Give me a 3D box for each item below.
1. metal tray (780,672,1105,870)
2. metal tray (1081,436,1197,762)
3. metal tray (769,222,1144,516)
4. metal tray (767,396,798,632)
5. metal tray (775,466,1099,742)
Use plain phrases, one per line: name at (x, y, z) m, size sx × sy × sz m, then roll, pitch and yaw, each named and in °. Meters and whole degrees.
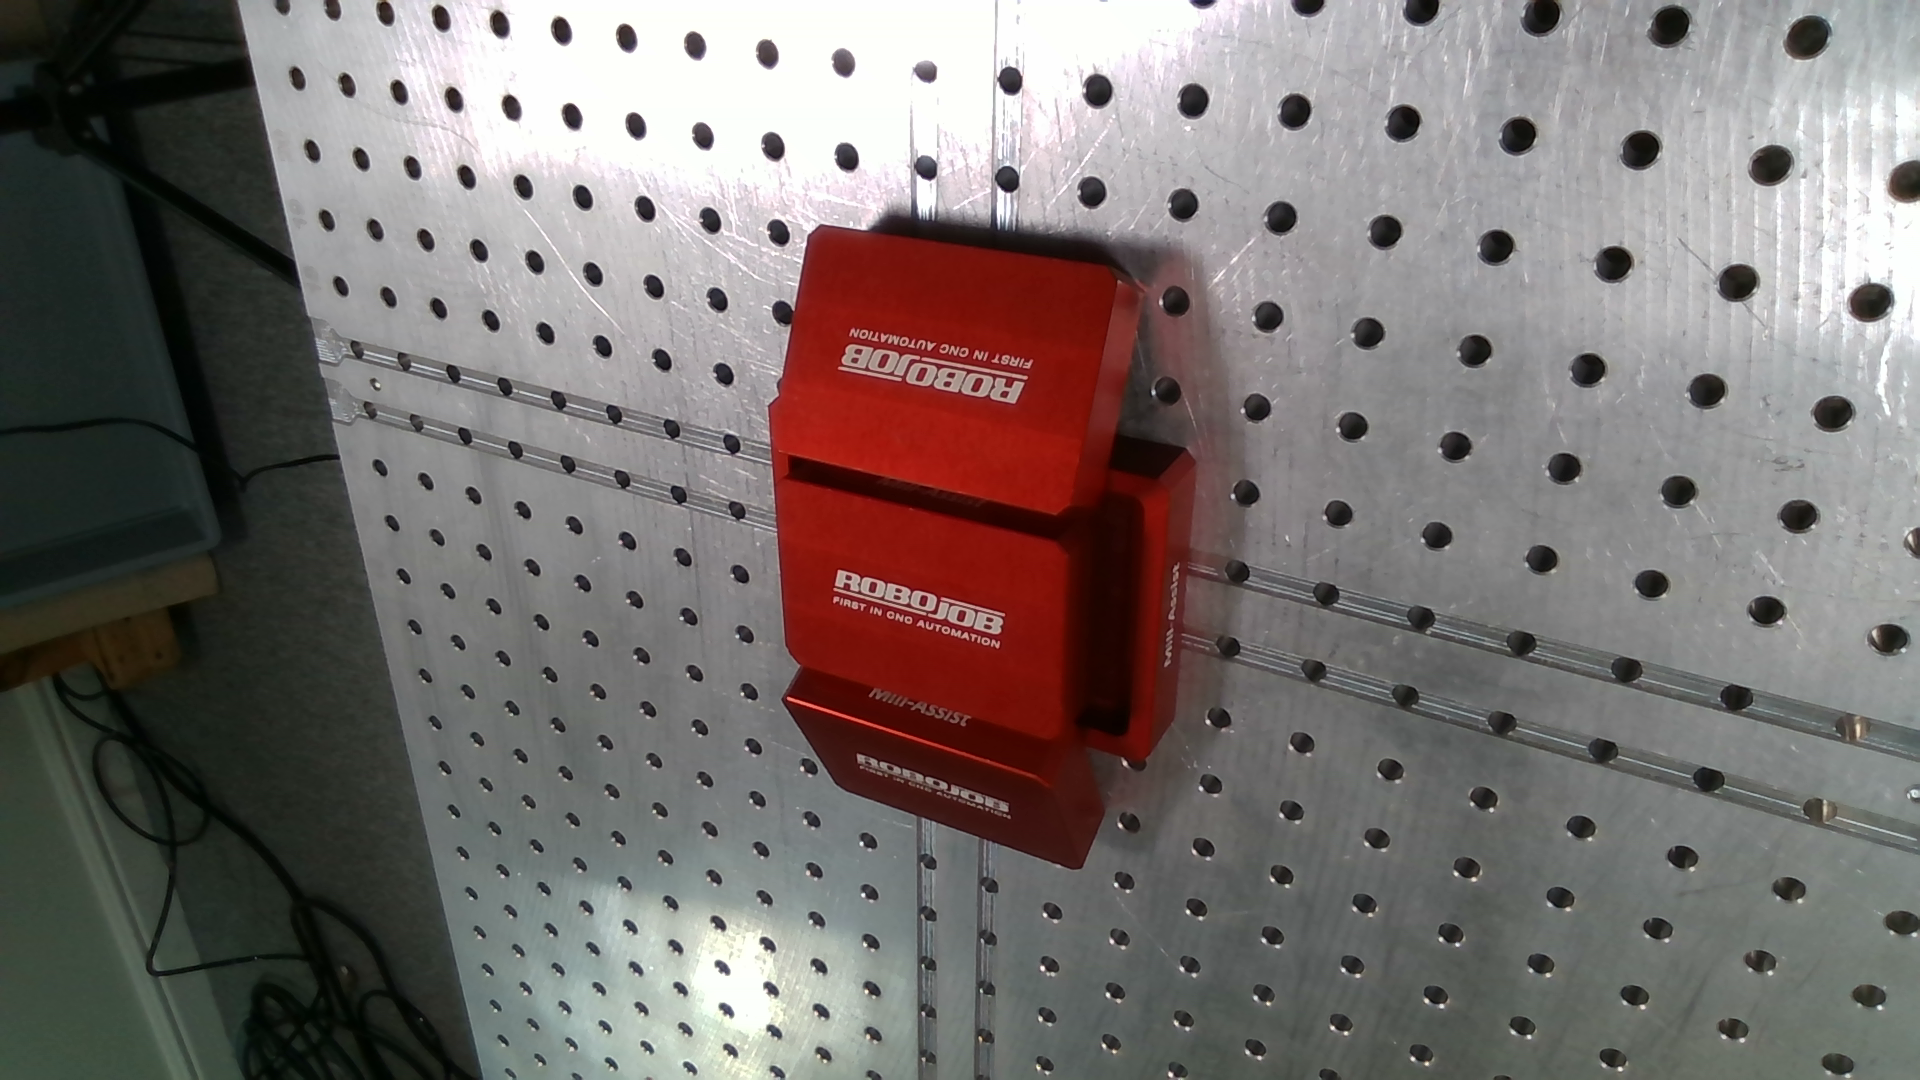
metal tray at (-0.006, 0.097, 0.613) m, size 0.130 × 0.030 × 0.090 m, roll 14°, pitch 149°, yaw 25°
metal tray at (0.045, 0.019, 0.563) m, size 0.090 × 0.030 × 0.130 m, roll 15°, pitch 122°, yaw 25°
metal tray at (-0.004, -0.066, 0.523) m, size 0.130 × 0.030 × 0.090 m, roll 14°, pitch 96°, yaw 25°
metal tray at (-0.035, 0.000, 0.601) m, size 0.090 × 0.030 × 0.130 m, roll 15°, pitch 122°, yaw 25°
metal tray at (-0.010, 0.021, 0.559) m, size 0.130 × 0.030 × 0.090 m, roll 14°, pitch 122°, yaw 25°
